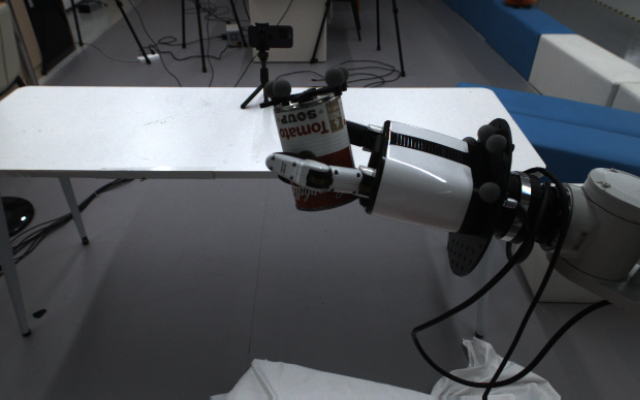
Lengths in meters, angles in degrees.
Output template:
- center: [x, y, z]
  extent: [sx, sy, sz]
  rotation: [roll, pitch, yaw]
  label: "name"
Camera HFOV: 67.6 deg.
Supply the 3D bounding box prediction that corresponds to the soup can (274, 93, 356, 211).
- center: [0.000, -0.048, 0.477]
  extent: [0.067, 0.101, 0.067]
  rotation: [-12, 17, 4]
  label: "soup can"
